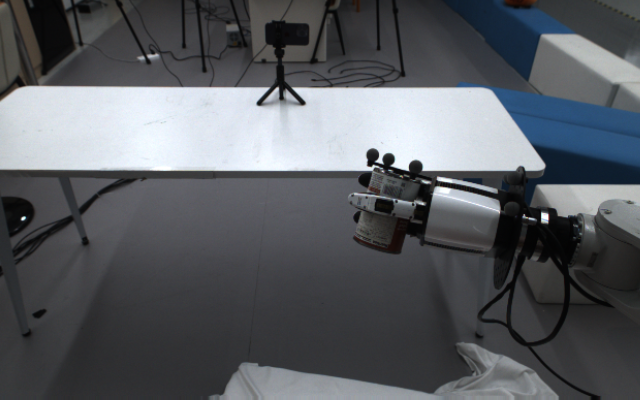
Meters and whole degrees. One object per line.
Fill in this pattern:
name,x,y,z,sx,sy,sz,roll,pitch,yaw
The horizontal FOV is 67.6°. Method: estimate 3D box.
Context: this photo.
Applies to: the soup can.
soup can,0.091,0.013,0.651,0.067,0.101,0.067,15,7,-2
